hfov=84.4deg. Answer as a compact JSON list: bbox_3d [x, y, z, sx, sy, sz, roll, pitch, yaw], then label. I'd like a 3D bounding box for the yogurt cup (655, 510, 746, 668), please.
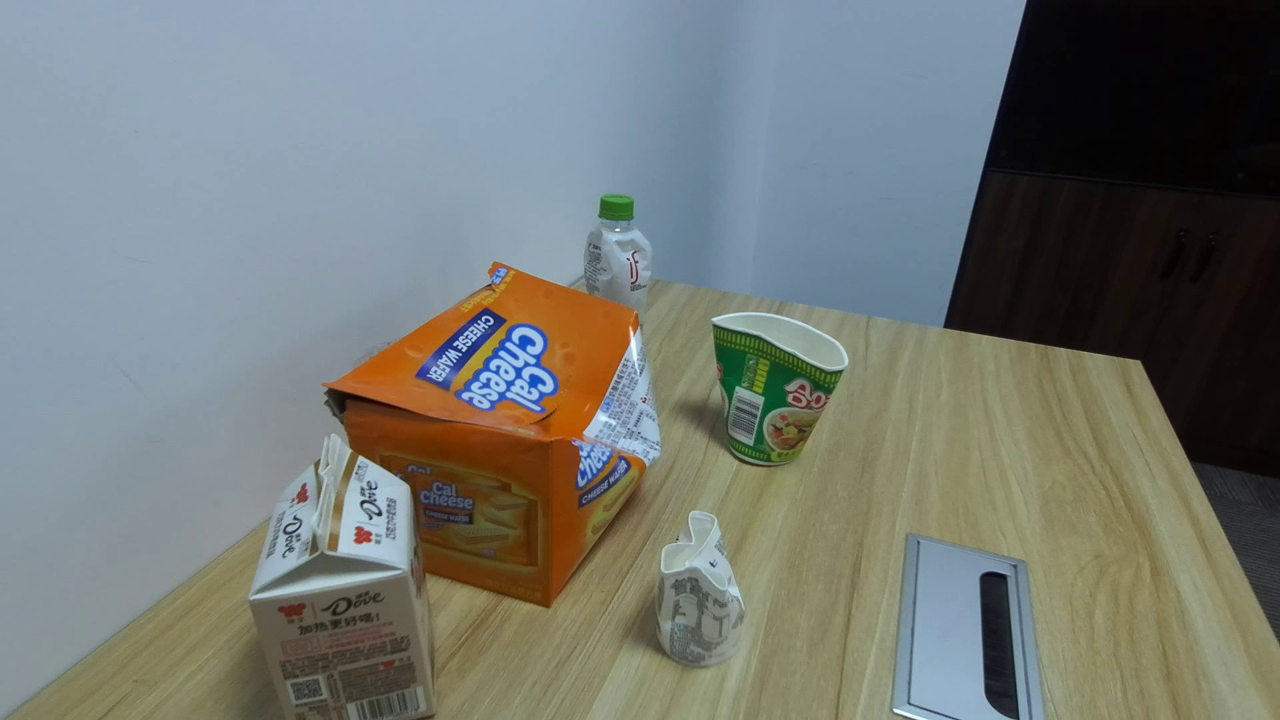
[{"bbox_3d":[0.035,0.140,0.426,0.055,0.072,0.055,13,31,25],"label":"yogurt cup"}]

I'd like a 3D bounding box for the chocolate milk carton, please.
[{"bbox_3d":[-0.154,0.117,0.372,0.074,0.148,0.075,-7,28,-15],"label":"chocolate milk carton"}]

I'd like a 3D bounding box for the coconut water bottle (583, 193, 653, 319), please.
[{"bbox_3d":[-0.023,-0.062,0.672,0.067,0.187,0.067,2,24,-1],"label":"coconut water bottle"}]

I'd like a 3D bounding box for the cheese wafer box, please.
[{"bbox_3d":[-0.079,0.041,0.532,0.191,0.145,0.219,10,30,16],"label":"cheese wafer box"}]

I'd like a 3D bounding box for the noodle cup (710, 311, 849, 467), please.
[{"bbox_3d":[0.112,0.027,0.594,0.070,0.111,0.114,-12,32,-21],"label":"noodle cup"}]
